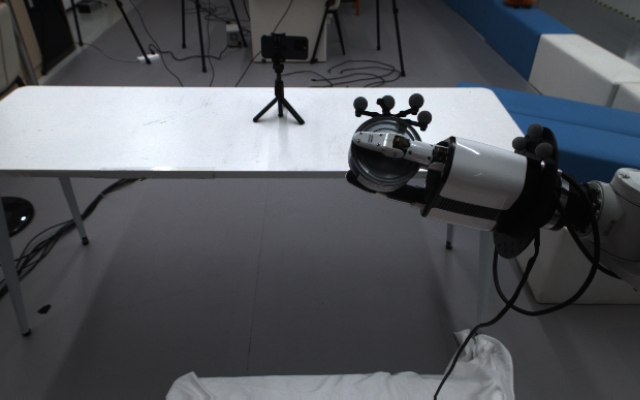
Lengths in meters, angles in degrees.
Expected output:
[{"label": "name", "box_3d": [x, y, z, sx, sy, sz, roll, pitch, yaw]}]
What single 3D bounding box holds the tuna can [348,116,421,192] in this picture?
[{"label": "tuna can", "box_3d": [0.078, -0.058, 0.572, 0.085, 0.034, 0.085, 1, 72, -3]}]
